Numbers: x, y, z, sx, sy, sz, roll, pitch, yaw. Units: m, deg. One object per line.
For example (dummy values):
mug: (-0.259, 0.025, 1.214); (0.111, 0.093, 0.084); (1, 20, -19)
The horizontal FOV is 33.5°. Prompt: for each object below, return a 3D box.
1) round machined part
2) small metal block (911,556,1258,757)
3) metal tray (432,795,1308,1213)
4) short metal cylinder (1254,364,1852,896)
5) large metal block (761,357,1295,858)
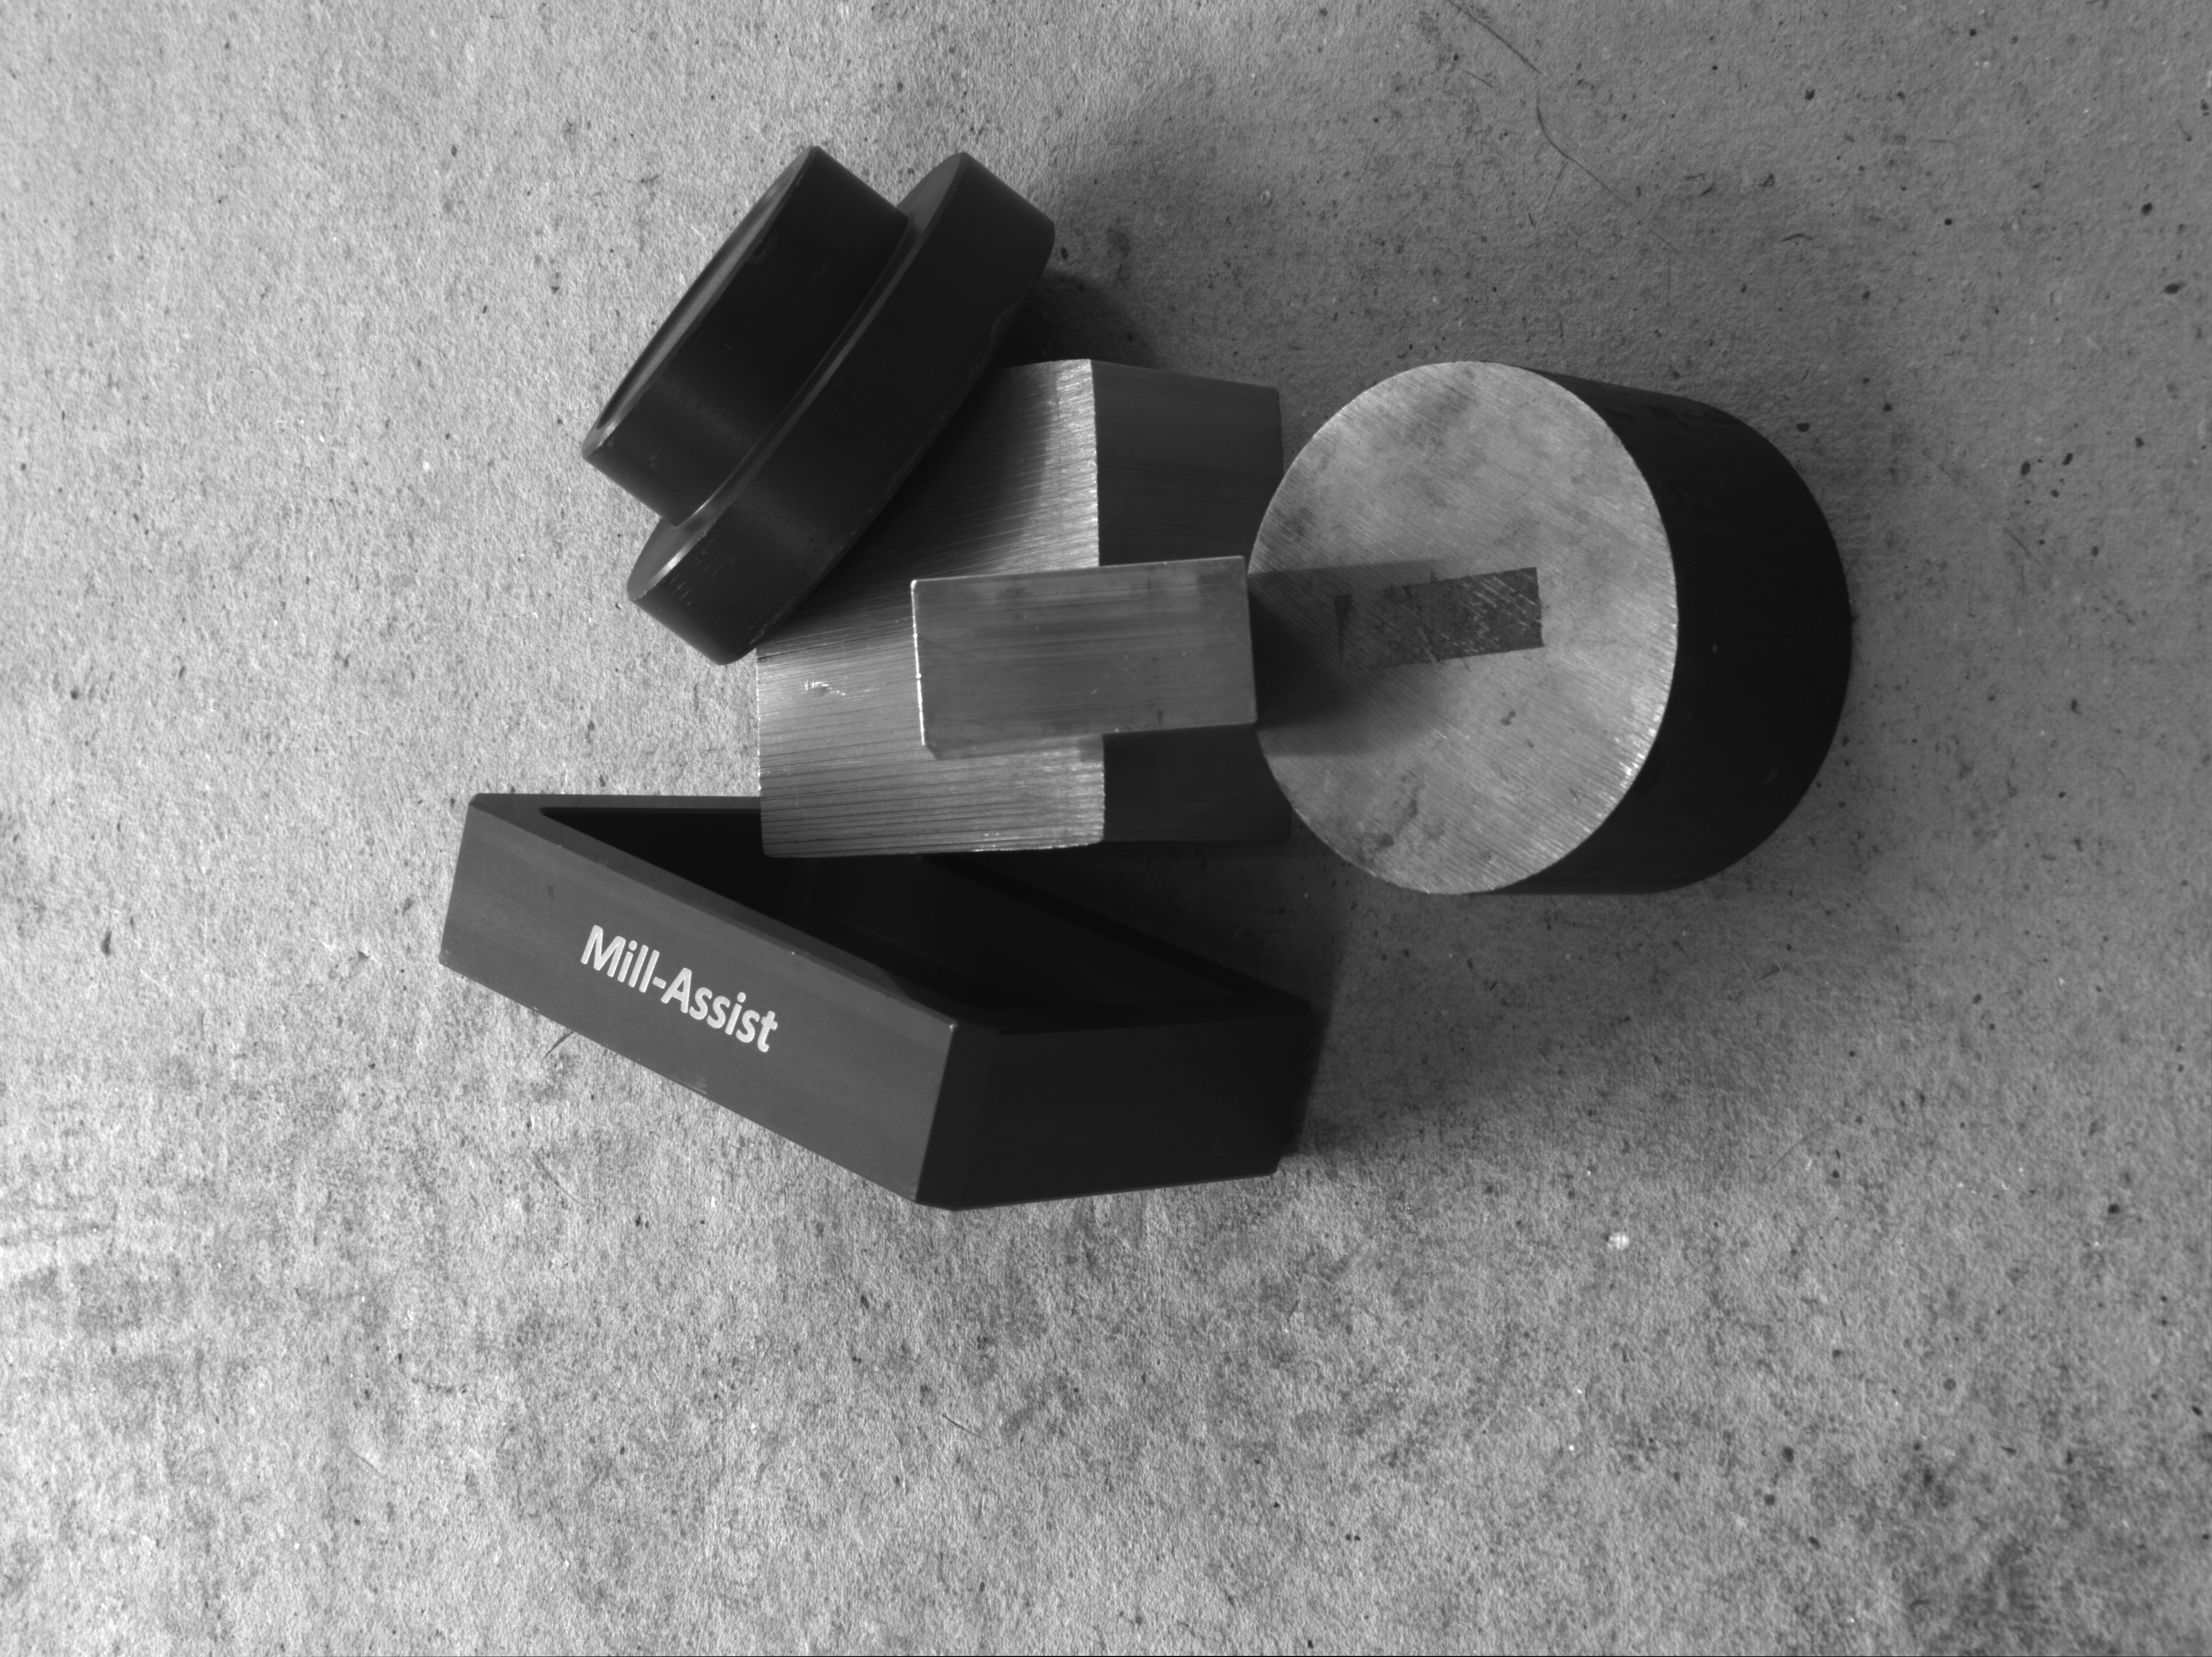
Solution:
round machined part: (-0.056, -0.080, 0.644); (0.042, 0.098, 0.098); (37, 122, -15)
small metal block: (-0.004, -0.026, 0.573); (0.050, 0.050, 0.025); (-5, 89, -1)
metal tray: (-0.042, 0.027, 0.638); (0.130, 0.090, 0.030); (22, 104, 38)
short metal cylinder: (0.068, -0.030, 0.573); (0.080, 0.050, 0.080); (0, 90, 40)
large metal block: (-0.015, -0.036, 0.643); (0.080, 0.050, 0.080); (-2, 89, 40)
